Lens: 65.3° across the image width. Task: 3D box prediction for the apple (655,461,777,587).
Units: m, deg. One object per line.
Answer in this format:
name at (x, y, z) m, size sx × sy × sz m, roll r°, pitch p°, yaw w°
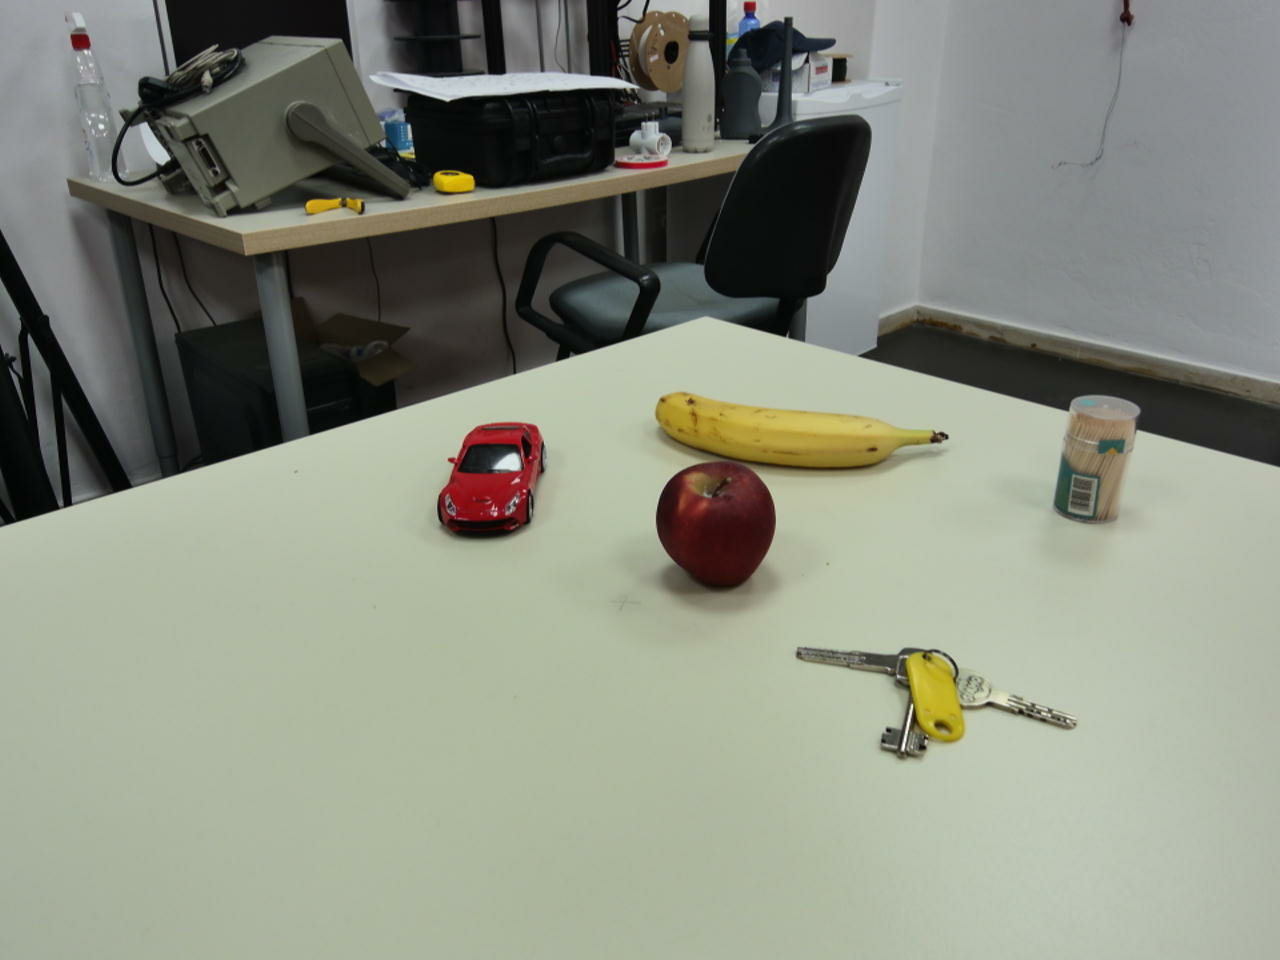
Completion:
apple at (0.045, 0.025, 0.578) m, size 0.070 × 0.072 × 0.070 m, roll 1°, pitch 24°, yaw 0°
